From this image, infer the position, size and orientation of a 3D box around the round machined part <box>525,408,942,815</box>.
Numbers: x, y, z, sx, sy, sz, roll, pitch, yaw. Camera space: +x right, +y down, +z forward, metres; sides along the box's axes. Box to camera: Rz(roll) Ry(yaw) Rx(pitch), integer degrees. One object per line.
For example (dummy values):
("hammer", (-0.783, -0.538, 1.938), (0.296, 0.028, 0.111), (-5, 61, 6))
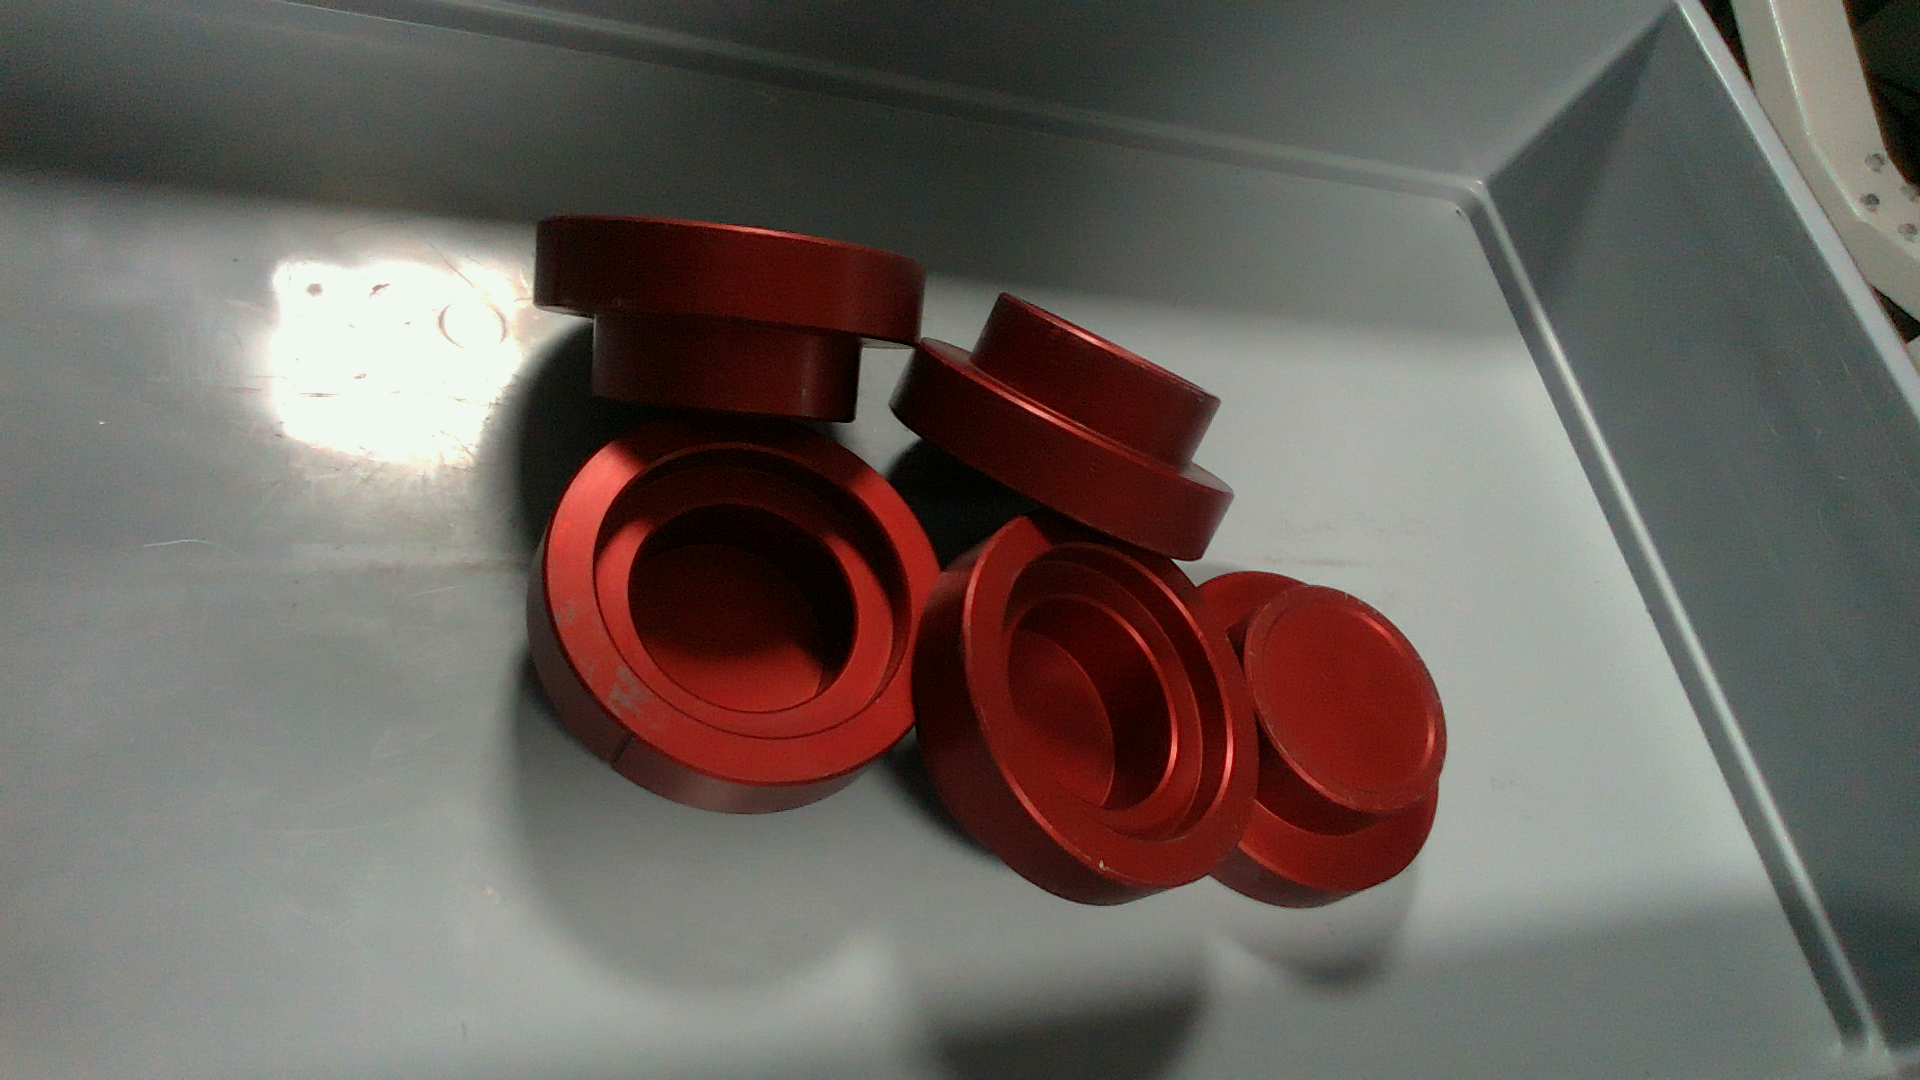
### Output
("round machined part", (-0.055, 0.020, 0.334), (0.098, 0.042, 0.098), (14, 56, -21))

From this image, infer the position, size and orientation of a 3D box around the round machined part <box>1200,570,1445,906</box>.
("round machined part", (0.099, 0.052, 0.398), (0.098, 0.042, 0.098), (14, 56, -21))

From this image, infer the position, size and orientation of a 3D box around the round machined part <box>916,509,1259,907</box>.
("round machined part", (0.028, 0.044, 0.350), (0.098, 0.042, 0.098), (21, 55, -33))

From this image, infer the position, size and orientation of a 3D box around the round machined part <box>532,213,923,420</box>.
("round machined part", (-0.060, -0.055, 0.356), (0.098, 0.098, 0.042), (3, 96, -27))

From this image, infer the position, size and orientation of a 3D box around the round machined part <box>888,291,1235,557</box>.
("round machined part", (0.033, -0.036, 0.382), (0.098, 0.042, 0.098), (25, 11, -5))
